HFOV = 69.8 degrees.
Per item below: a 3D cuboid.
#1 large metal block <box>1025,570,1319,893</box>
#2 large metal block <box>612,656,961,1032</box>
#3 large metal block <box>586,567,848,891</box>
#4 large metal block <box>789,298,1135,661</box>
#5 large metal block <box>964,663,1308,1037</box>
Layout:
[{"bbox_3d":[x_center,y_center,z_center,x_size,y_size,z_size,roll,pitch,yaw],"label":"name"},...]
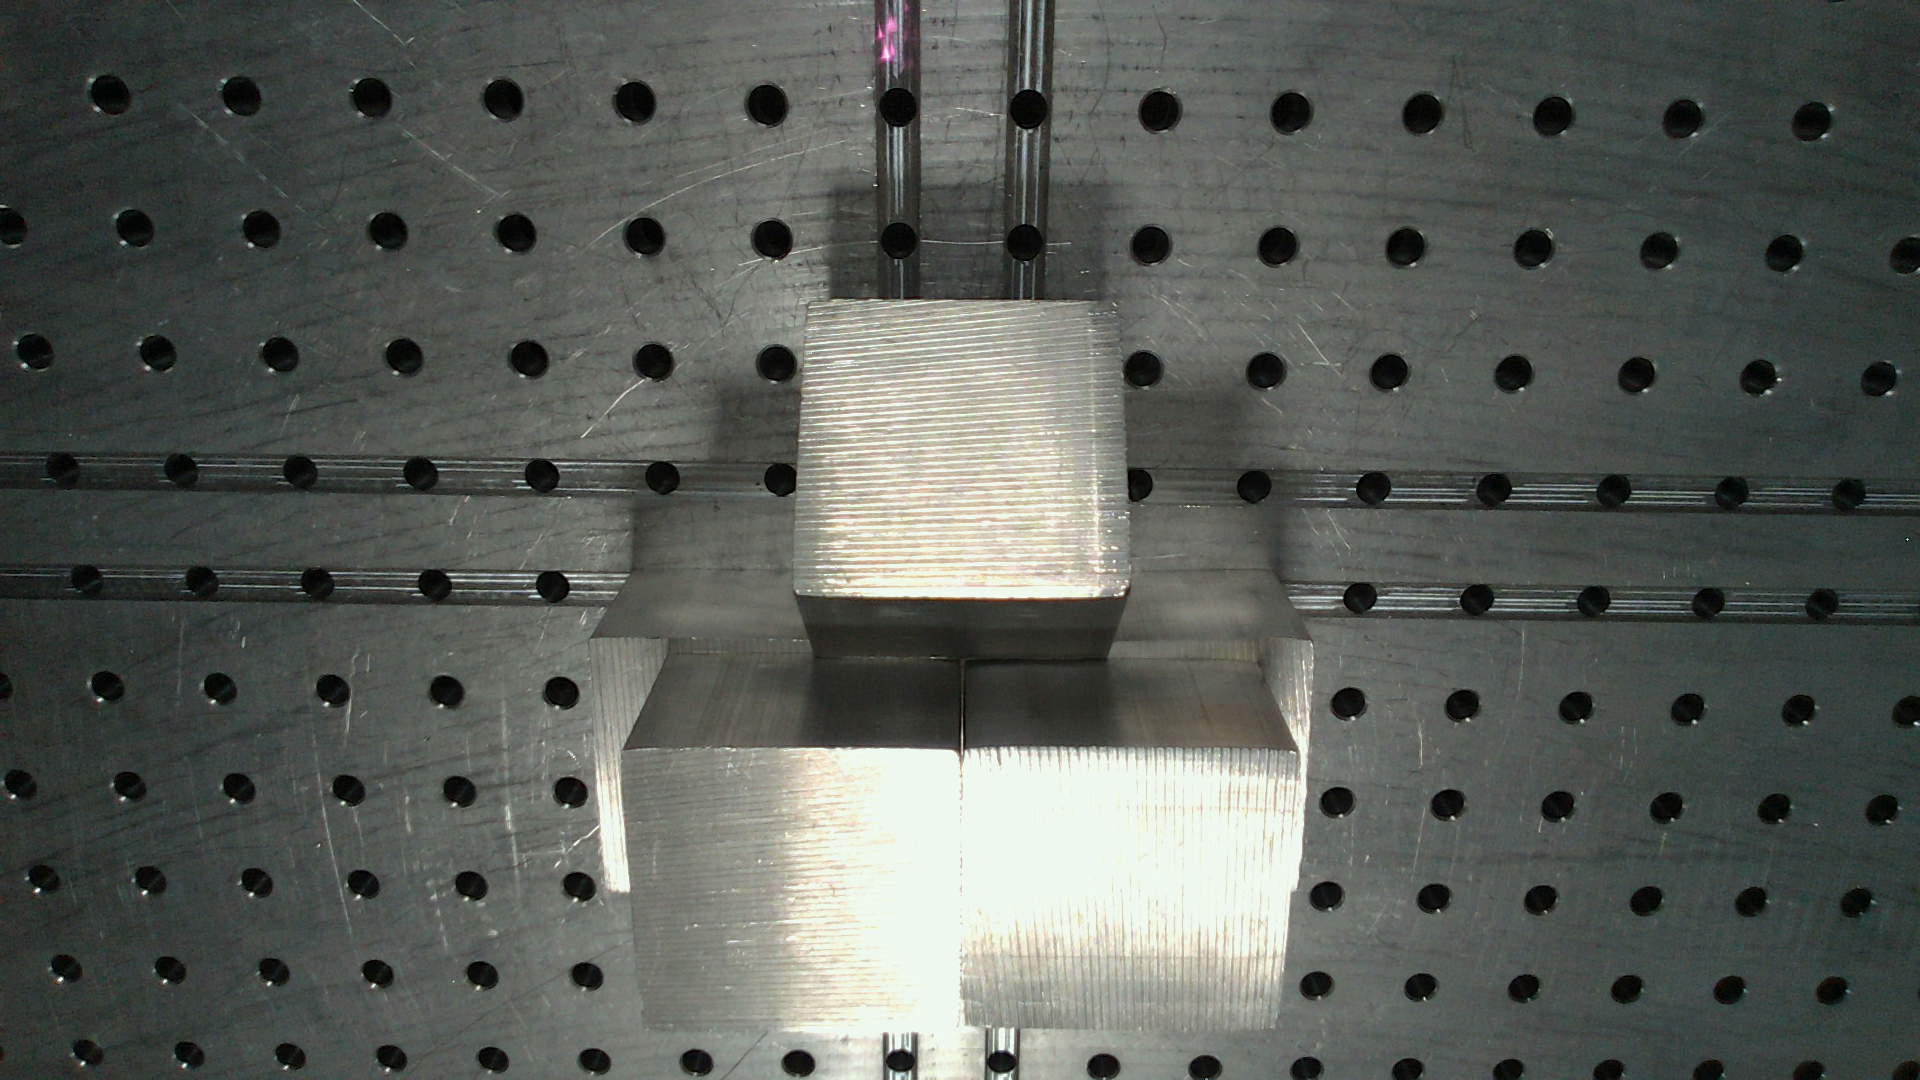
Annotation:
[{"bbox_3d":[0.056,0.056,0.403,0.080,0.050,0.080,-1,110,0],"label":"large metal block"},{"bbox_3d":[-0.040,0.077,0.355,0.080,0.050,0.080,0,110,0],"label":"large metal block"},{"bbox_3d":[-0.060,0.055,0.404,0.080,0.050,0.080,1,110,-1],"label":"large metal block"},{"bbox_3d":[0.001,-0.015,0.356,0.080,0.050,0.080,0,68,0],"label":"large metal block"},{"bbox_3d":[0.041,0.079,0.357,0.080,0.050,0.080,0,110,0],"label":"large metal block"}]
